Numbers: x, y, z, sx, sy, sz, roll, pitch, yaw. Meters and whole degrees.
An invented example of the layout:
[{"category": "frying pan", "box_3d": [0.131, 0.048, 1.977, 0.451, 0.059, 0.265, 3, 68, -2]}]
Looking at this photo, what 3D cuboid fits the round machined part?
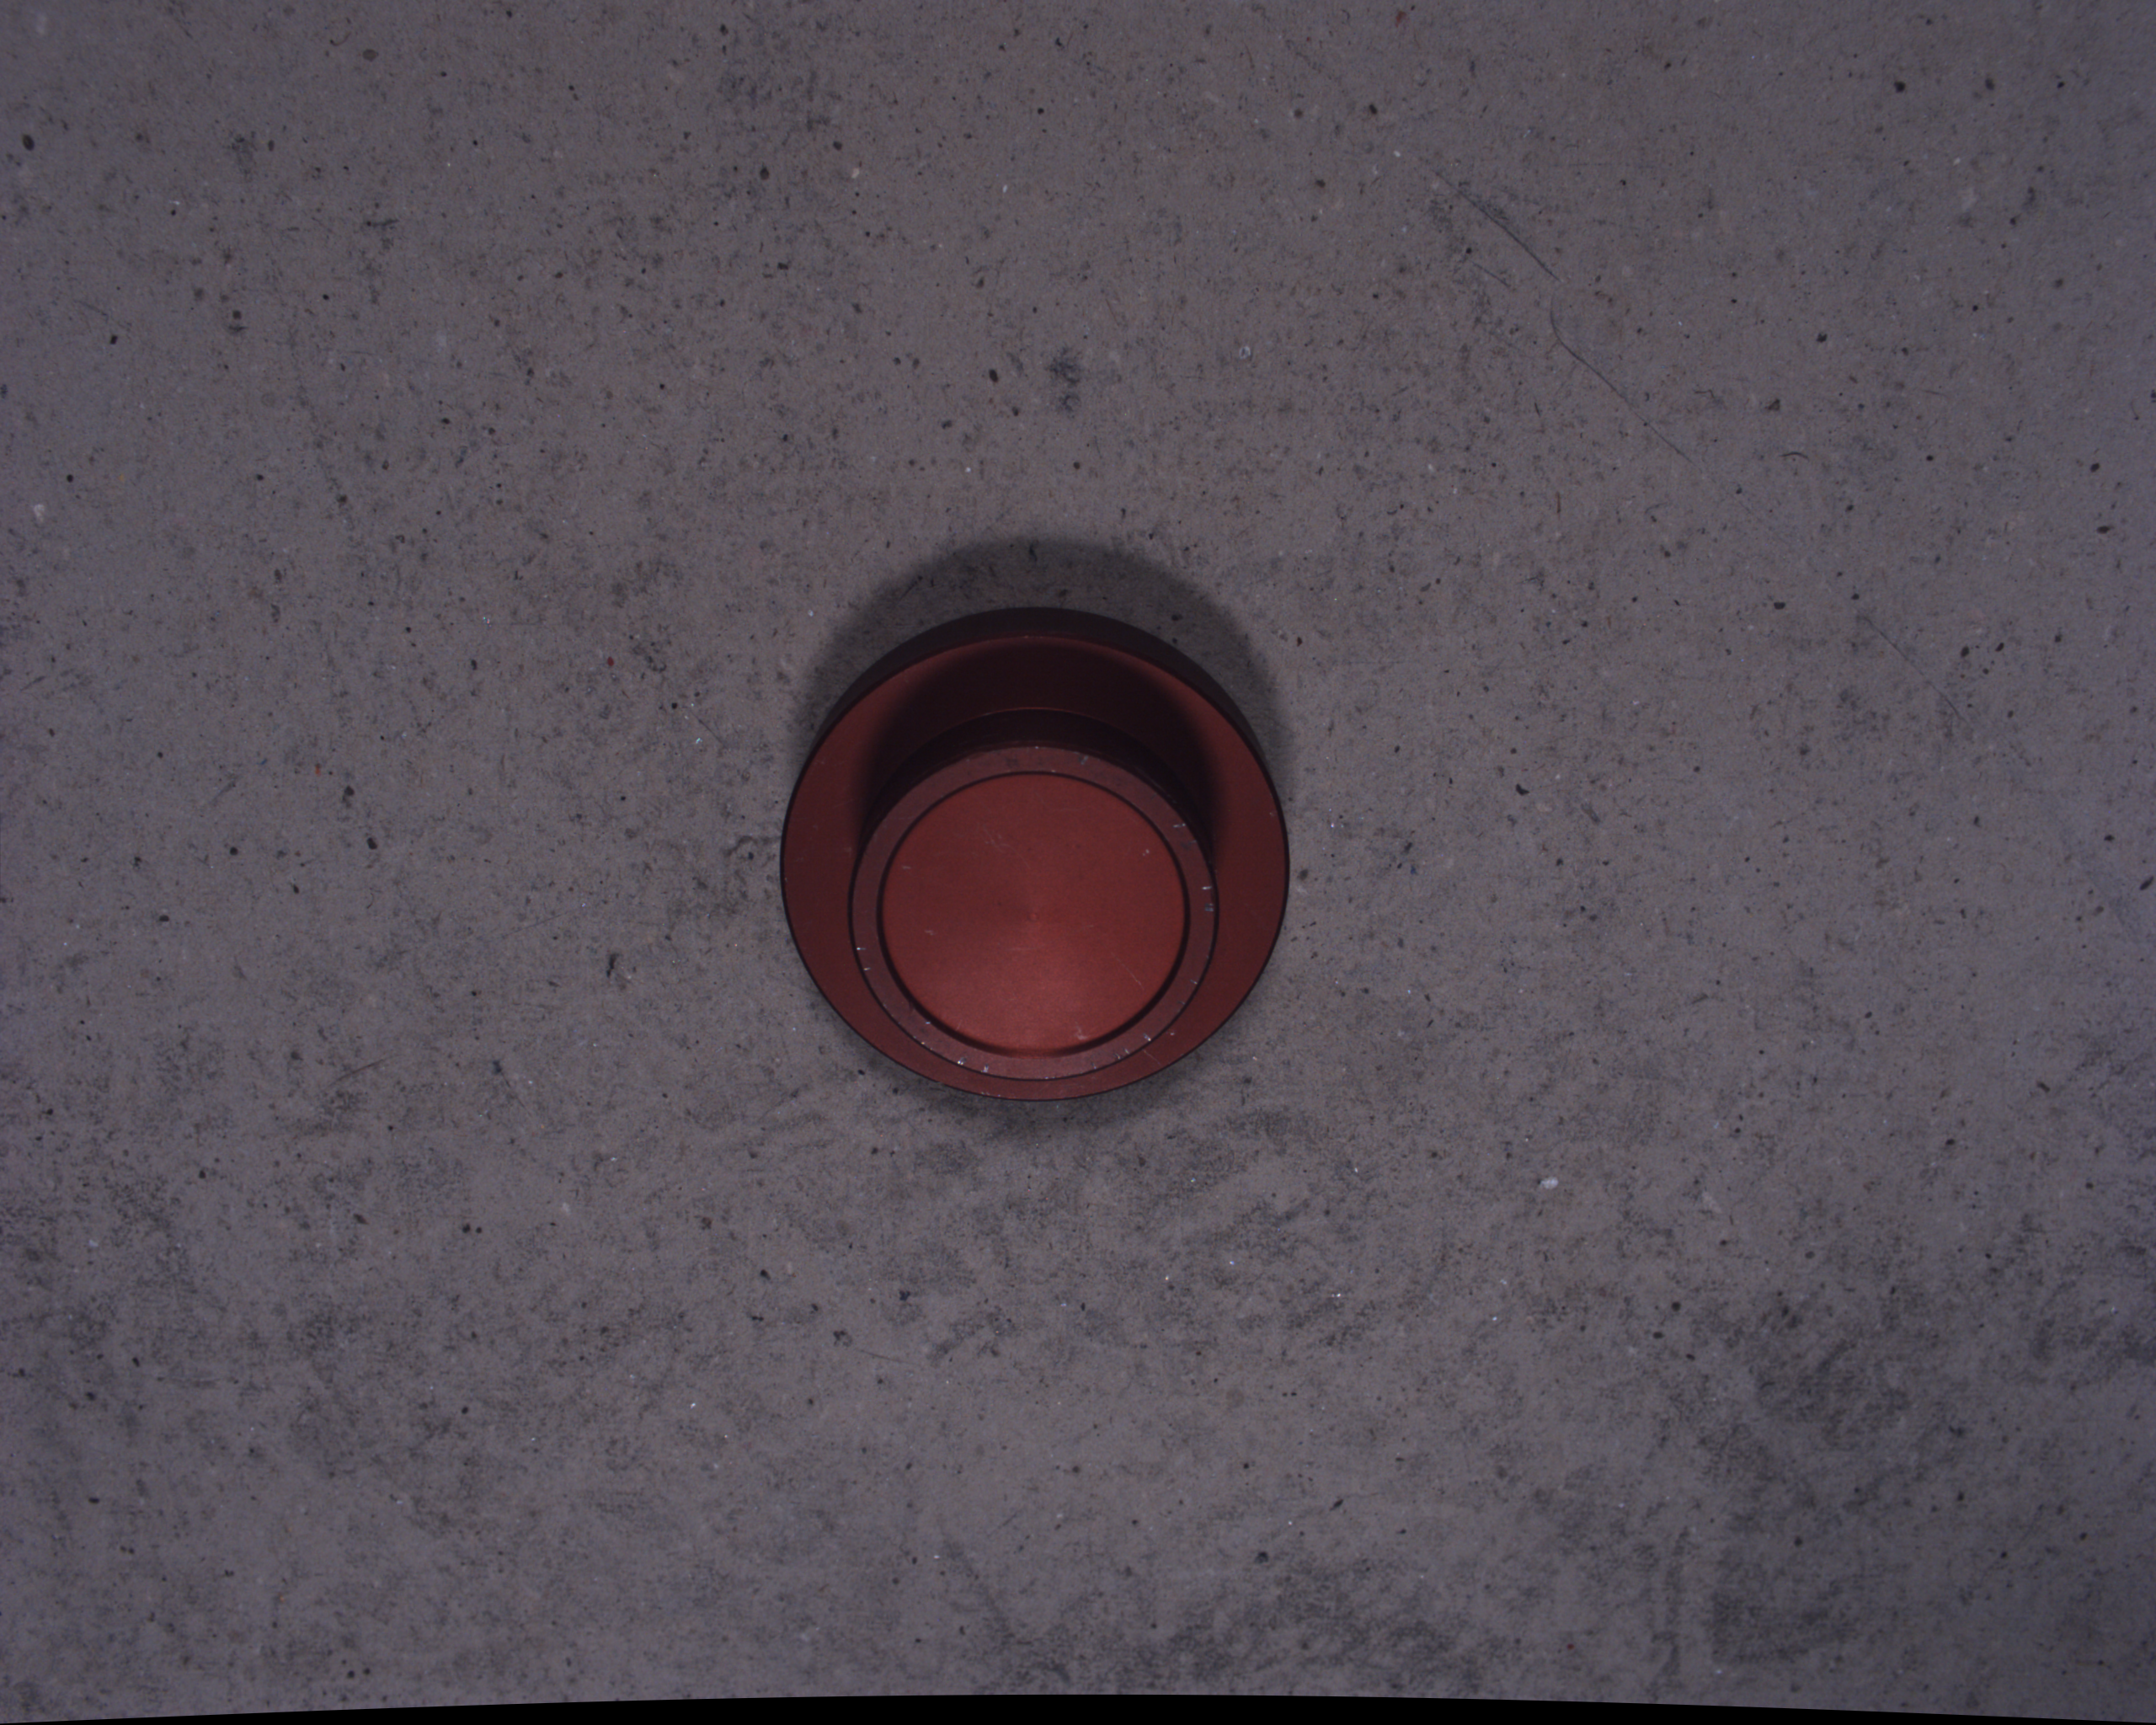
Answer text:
[{"category": "round machined part", "box_3d": [-0.008, 0.003, 0.403, 0.099, 0.042, 0.097, 0, 110, -1]}]
